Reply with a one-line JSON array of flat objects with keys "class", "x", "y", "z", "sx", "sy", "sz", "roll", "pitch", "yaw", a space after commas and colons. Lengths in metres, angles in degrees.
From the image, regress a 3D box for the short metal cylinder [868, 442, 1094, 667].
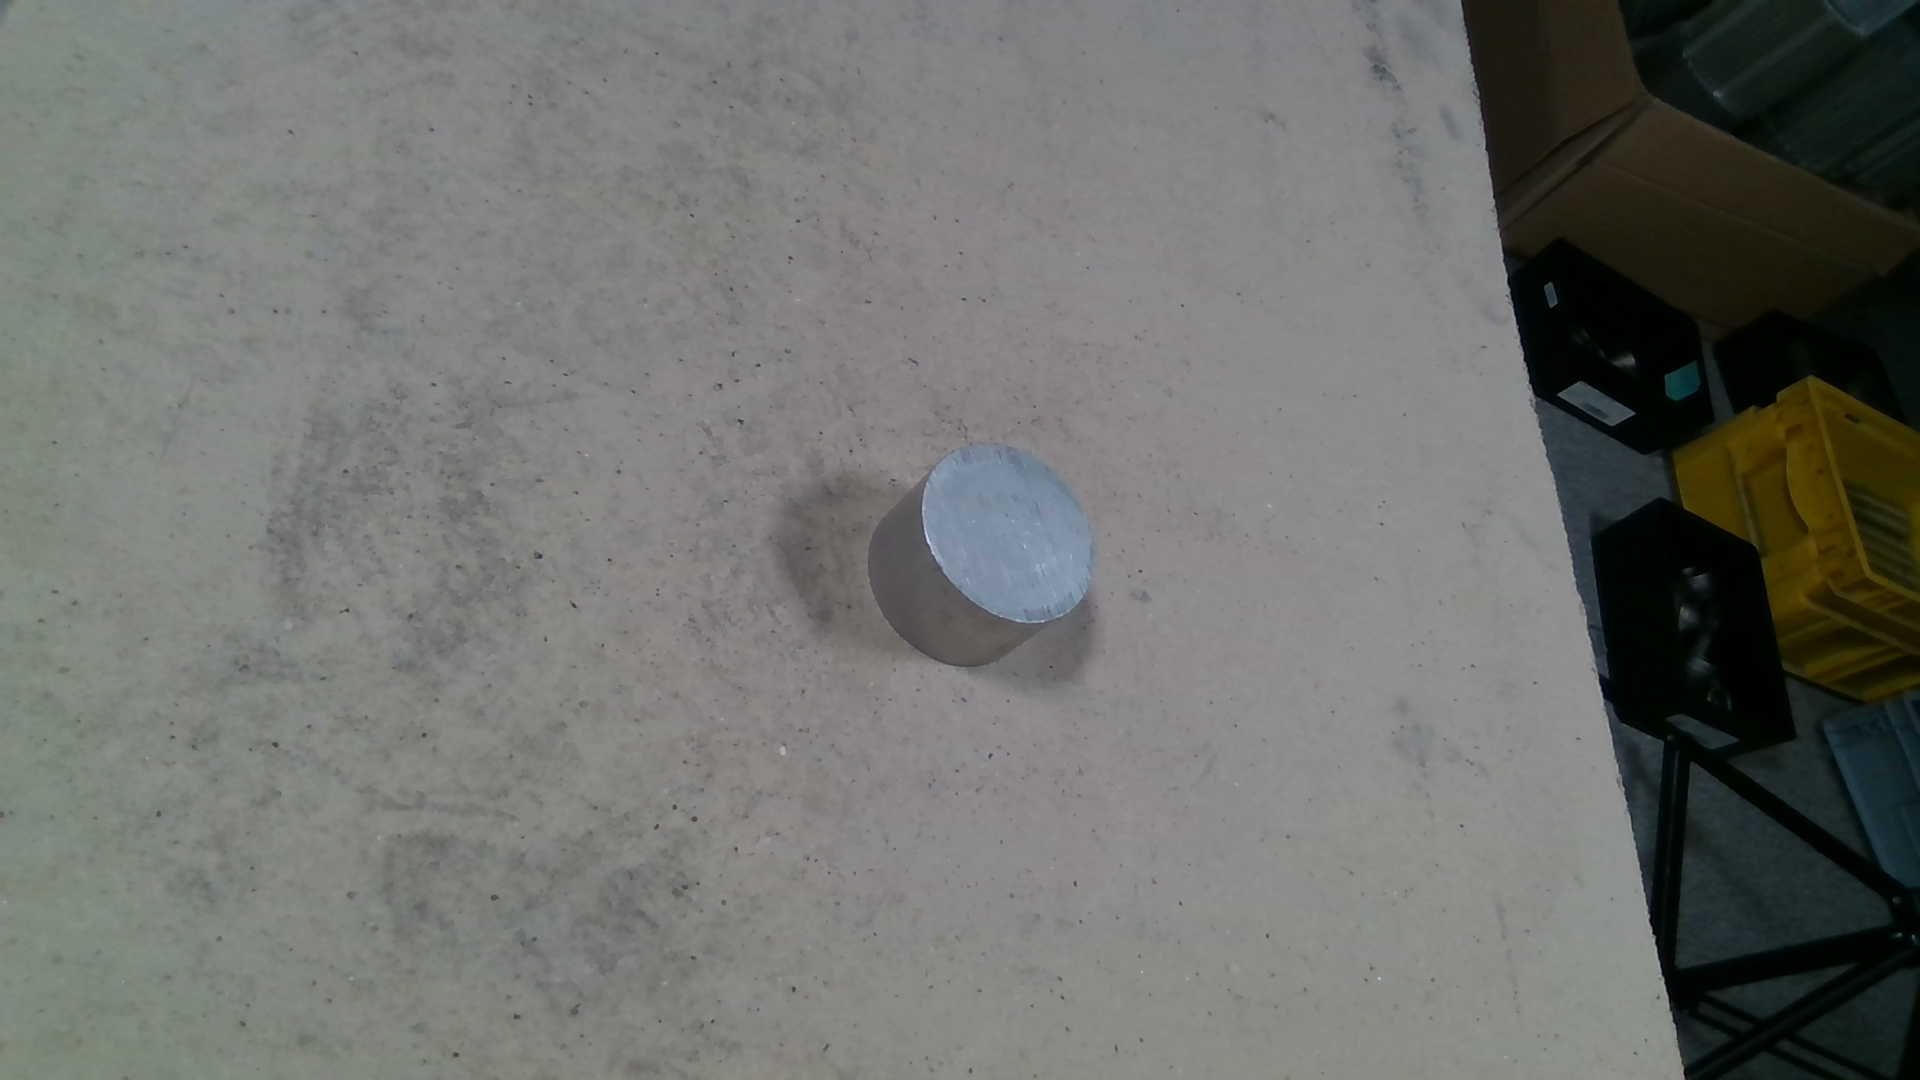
[{"class": "short metal cylinder", "x": 0.008, "y": 0.006, "z": 0.572, "sx": 0.080, "sy": 0.050, "sz": 0.080, "roll": 14, "pitch": 59, "yaw": -25}]
